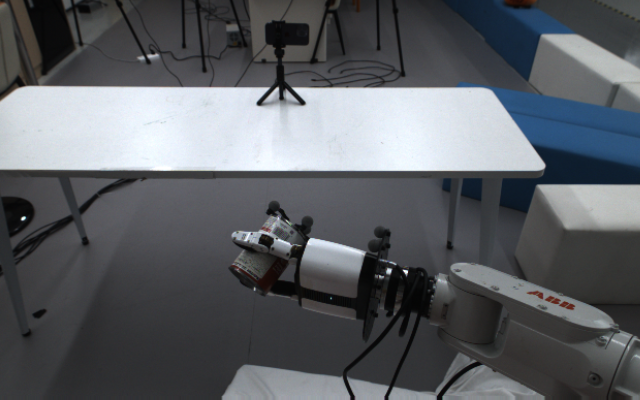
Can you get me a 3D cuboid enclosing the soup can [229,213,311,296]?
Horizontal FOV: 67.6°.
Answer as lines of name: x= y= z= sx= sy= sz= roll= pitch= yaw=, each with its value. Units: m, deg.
soup can: x=-0.075 y=0.081 z=0.710 sx=0.067 sy=0.067 sz=0.101 roll=25 pitch=66 yaw=30
